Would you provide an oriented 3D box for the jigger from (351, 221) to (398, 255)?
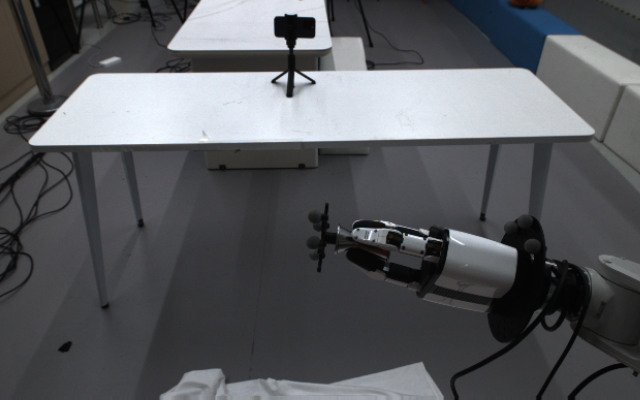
[{"bbox_3d":[0.062,0.048,0.618,0.071,0.043,0.043,5,35,3],"label":"jigger"}]
